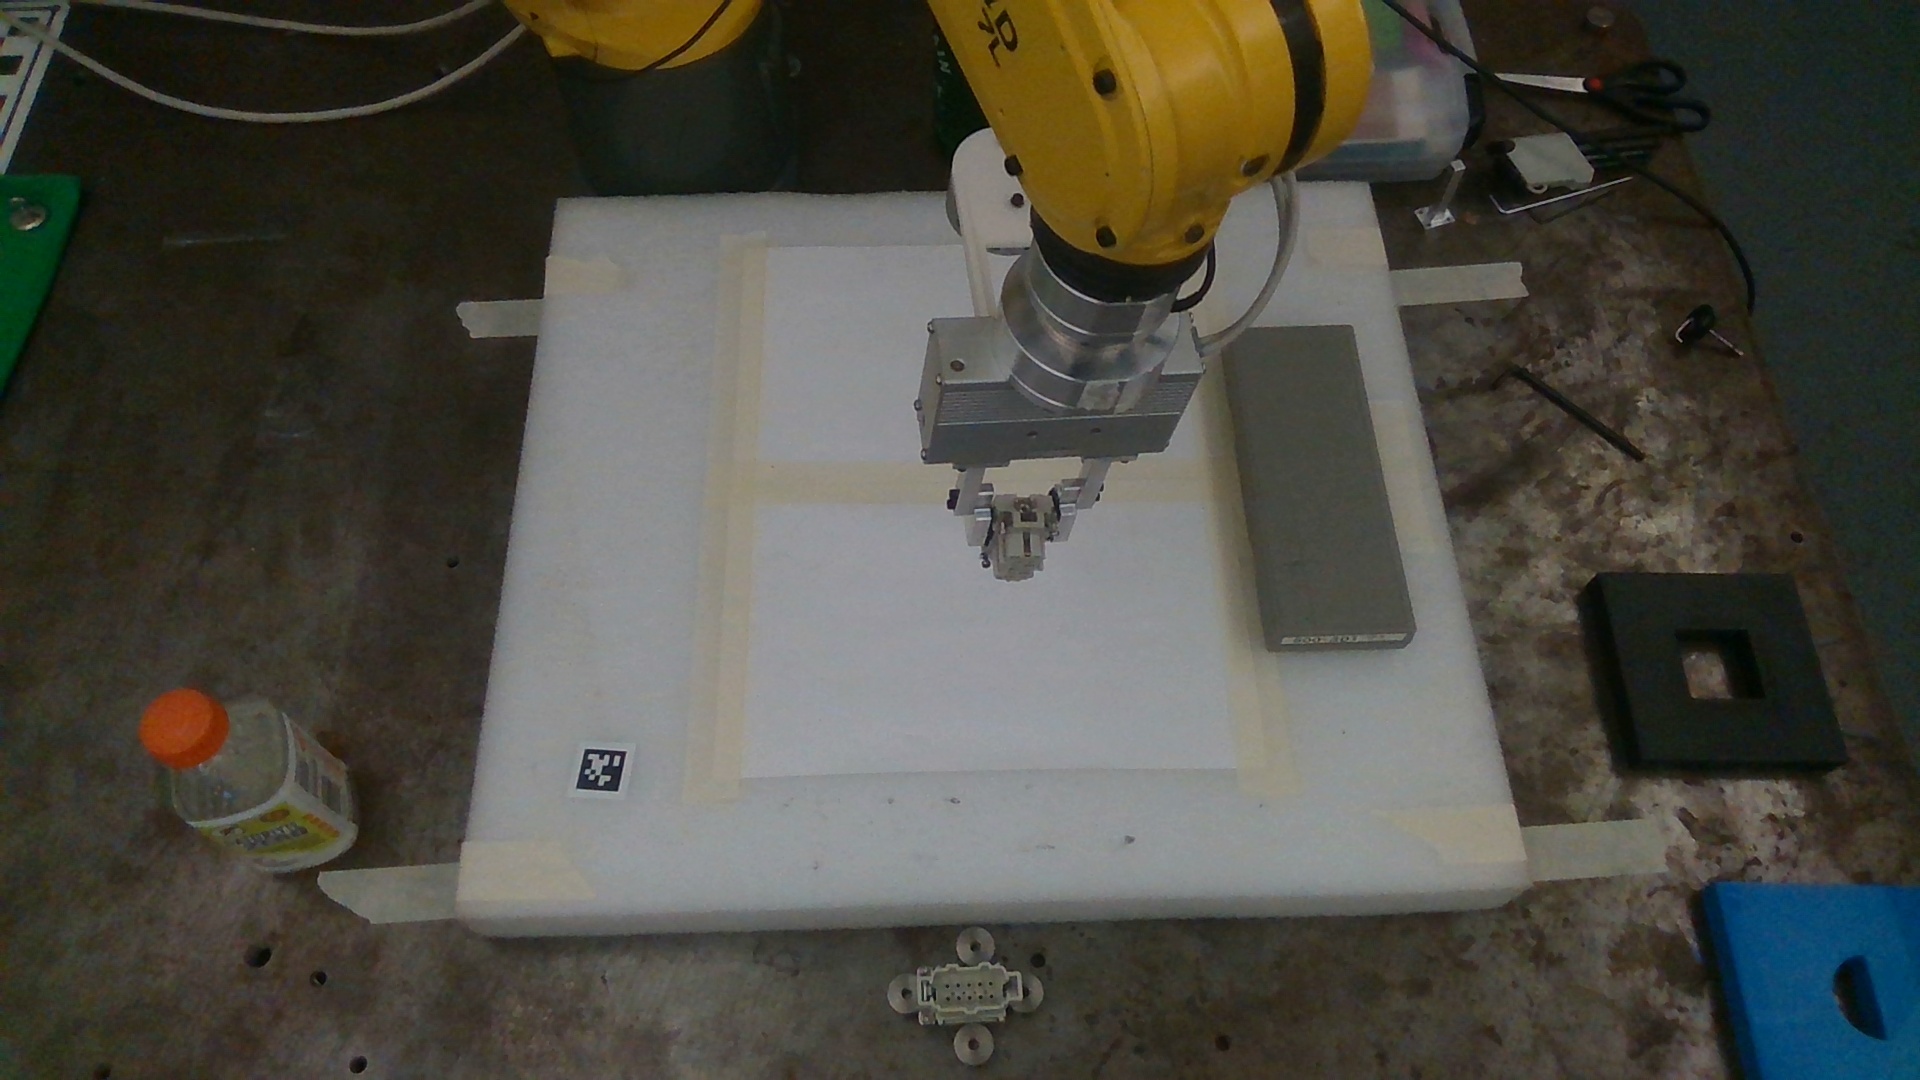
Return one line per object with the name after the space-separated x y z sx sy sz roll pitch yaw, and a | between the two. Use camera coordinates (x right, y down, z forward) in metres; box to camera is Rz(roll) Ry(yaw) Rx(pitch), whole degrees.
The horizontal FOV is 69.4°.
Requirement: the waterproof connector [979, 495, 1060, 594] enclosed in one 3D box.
0.033 0.003 0.772 0.036 0.069 0.038 2 63 -7 | waterproof connector
